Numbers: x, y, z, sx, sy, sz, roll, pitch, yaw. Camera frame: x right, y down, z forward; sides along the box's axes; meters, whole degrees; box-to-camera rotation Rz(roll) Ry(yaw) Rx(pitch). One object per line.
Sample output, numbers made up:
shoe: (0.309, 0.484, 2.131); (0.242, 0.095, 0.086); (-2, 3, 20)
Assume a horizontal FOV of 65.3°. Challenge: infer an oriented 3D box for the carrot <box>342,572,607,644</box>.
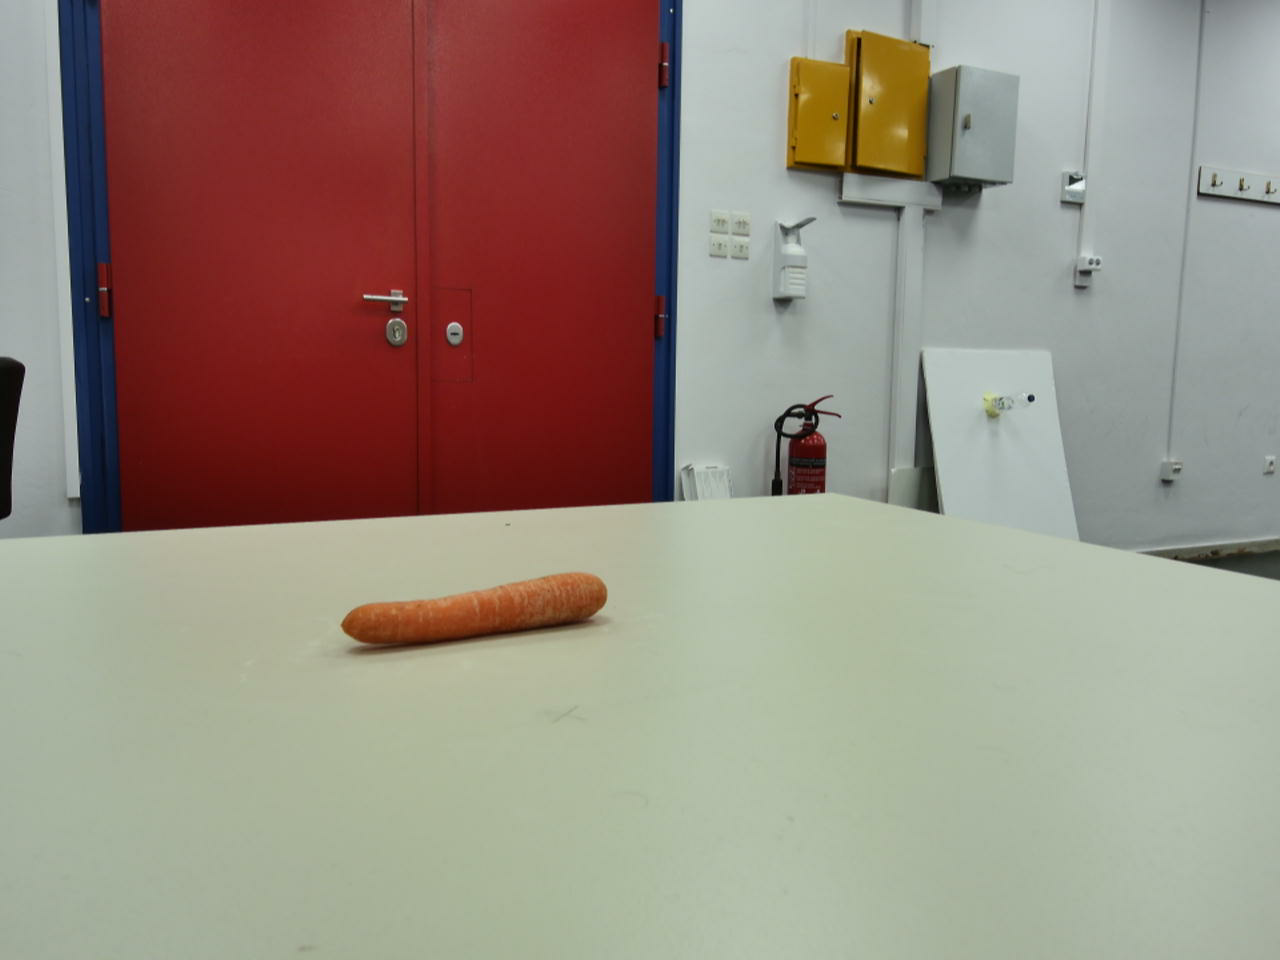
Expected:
carrot: (-0.070, 0.057, 0.447); (0.122, 0.023, 0.024); (-3, 5, -29)
